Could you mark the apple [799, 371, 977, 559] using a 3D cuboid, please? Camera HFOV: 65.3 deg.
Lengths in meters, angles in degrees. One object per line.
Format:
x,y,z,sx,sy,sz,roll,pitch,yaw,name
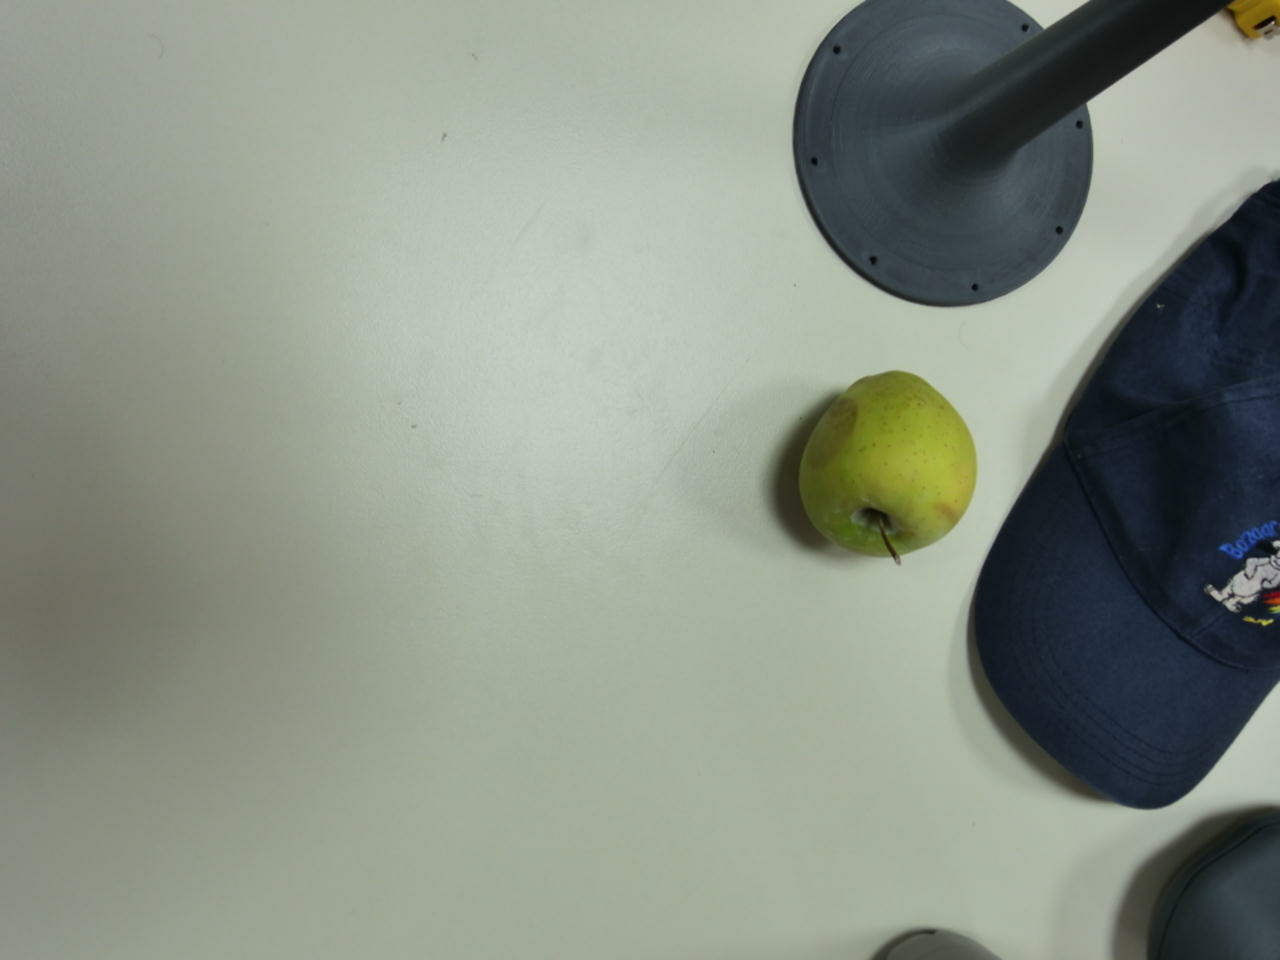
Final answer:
0.105,-0.005,0.422,0.077,0.075,0.072,-36,97,-9,apple
